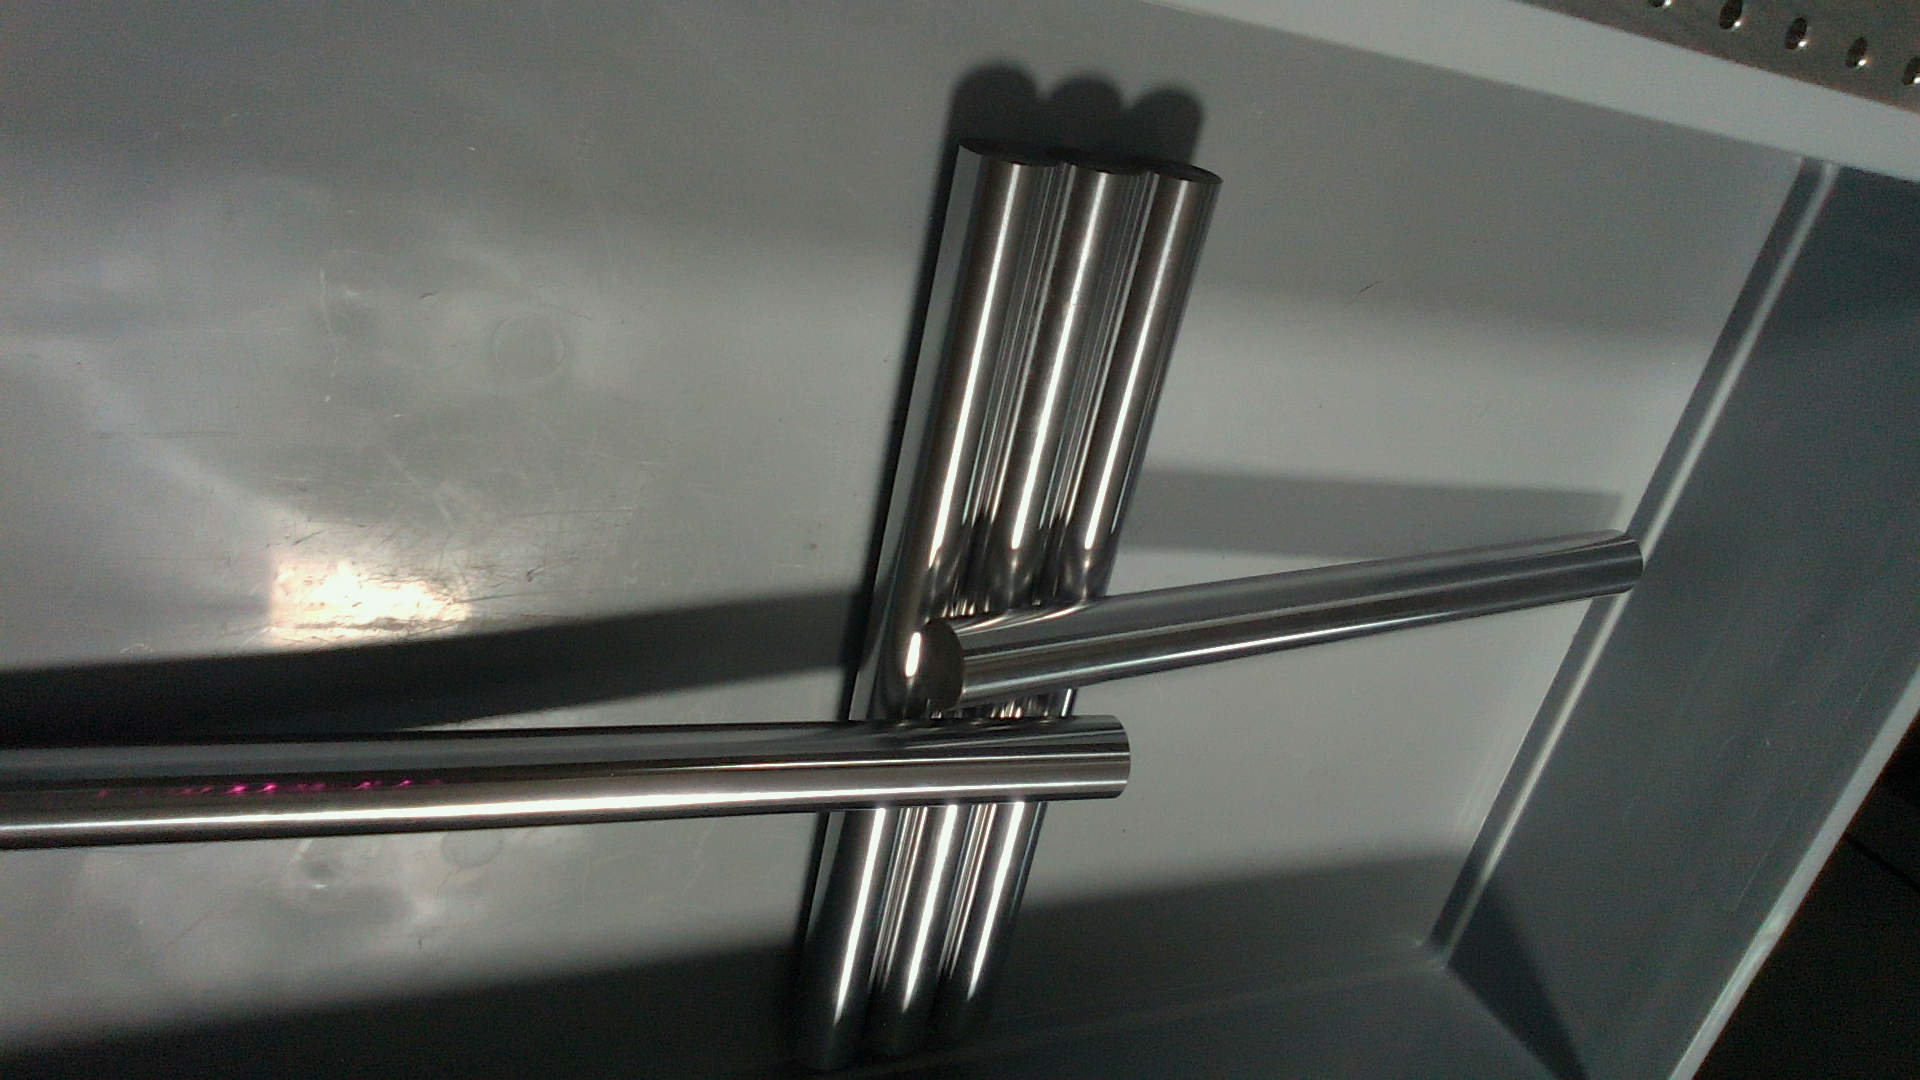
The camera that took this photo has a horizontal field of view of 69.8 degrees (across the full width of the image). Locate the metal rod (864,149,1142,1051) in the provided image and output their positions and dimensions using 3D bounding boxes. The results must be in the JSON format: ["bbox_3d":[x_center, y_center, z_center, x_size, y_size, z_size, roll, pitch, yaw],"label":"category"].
[{"bbox_3d":[0.004,0.036,0.412,0.025,0.025,0.300,-2,119,-27],"label":"metal rod"}]

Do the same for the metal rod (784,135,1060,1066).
[{"bbox_3d":[-0.017,0.036,0.401,0.025,0.025,0.300,-2,119,-27],"label":"metal rod"}]

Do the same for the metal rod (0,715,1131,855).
[{"bbox_3d":[-0.094,0.061,0.354,0.301,0.025,0.025,2,118,-22],"label":"metal rod"}]

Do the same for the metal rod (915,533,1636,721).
[{"bbox_3d":[0.121,0.022,0.445,0.301,0.025,0.025,-6,121,-33],"label":"metal rod"}]

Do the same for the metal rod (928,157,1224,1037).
[{"bbox_3d":[0.027,0.035,0.424,0.025,0.025,0.300,-2,119,-27],"label":"metal rod"}]
